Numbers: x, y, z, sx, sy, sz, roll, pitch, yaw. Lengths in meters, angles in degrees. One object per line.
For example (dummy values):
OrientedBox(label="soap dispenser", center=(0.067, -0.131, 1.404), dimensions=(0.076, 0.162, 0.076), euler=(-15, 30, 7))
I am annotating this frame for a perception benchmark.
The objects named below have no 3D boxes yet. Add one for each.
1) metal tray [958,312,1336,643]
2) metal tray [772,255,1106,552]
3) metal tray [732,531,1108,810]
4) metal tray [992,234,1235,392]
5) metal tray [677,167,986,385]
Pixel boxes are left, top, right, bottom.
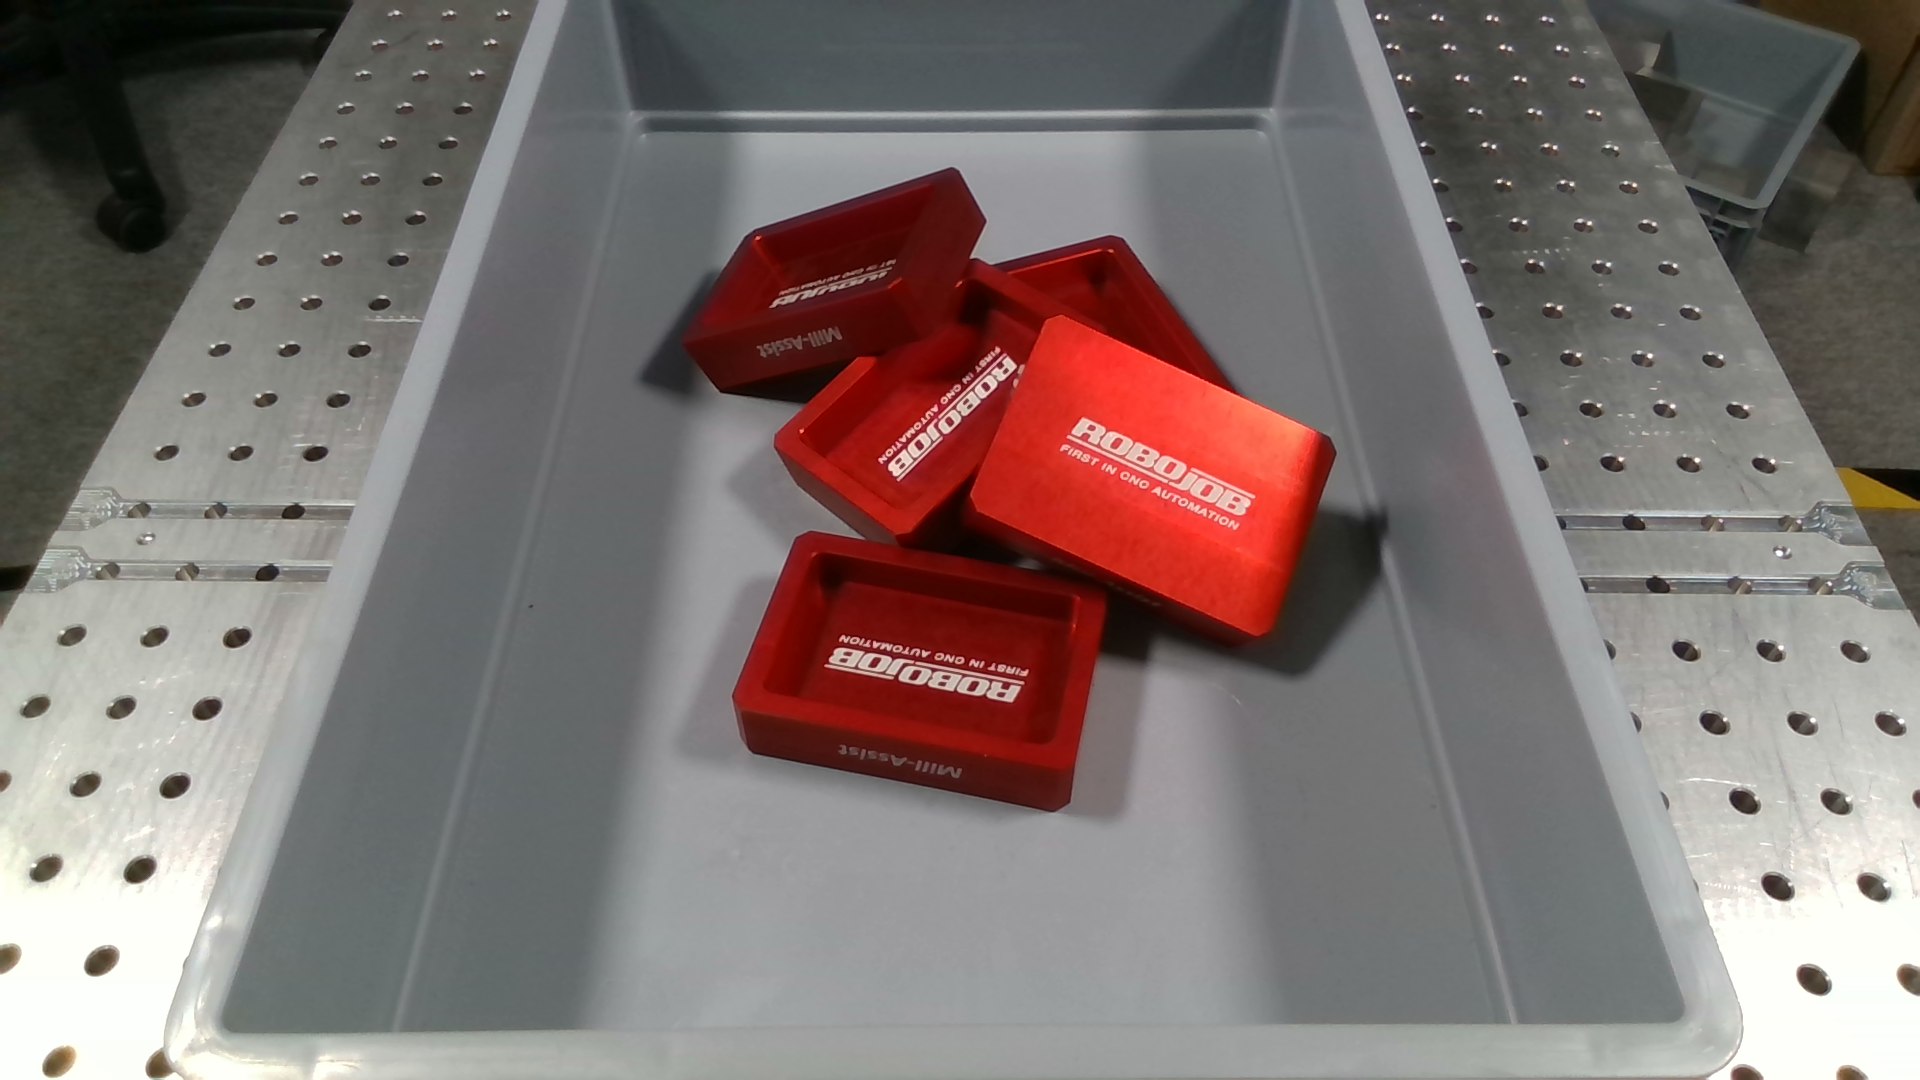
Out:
OrientedBox(label="metal tray", center=(0.076, -0.024, 0.557), dimensions=(0.130, 0.030, 0.090), euler=(24, 76, -4))
OrientedBox(label="metal tray", center=(-0.006, -0.059, 0.604), dimensions=(0.130, 0.030, 0.090), euler=(-45, 55, -14))
OrientedBox(label="metal tray", center=(-0.013, 0.049, 0.541), dimensions=(0.130, 0.030, 0.090), euler=(10, 51, 8))
OrientedBox(label="metal tray", center=(0.061, -0.087, 0.655), dimensions=(0.090, 0.030, 0.130), euler=(-16, 52, -13))
OrientedBox(label="metal tray", center=(-0.060, -0.123, 0.647), dimensions=(0.130, 0.030, 0.090), euler=(-7, 43, 32))
